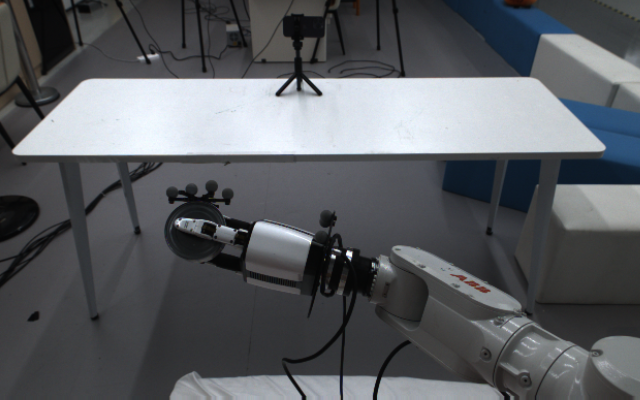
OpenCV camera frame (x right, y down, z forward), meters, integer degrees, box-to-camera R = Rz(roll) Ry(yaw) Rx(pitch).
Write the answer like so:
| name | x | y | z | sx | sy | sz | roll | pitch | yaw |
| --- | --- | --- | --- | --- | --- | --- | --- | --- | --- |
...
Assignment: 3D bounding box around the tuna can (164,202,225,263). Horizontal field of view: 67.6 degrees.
| name | x | y | z | sx | sy | sz | roll | pitch | yaw |
| --- | --- | --- | --- | --- | --- | --- | --- | --- | --- |
| tuna can | -0.170 | 0.047 | 0.689 | 0.085 | 0.034 | 0.085 | 2 | 70 | -4 |
